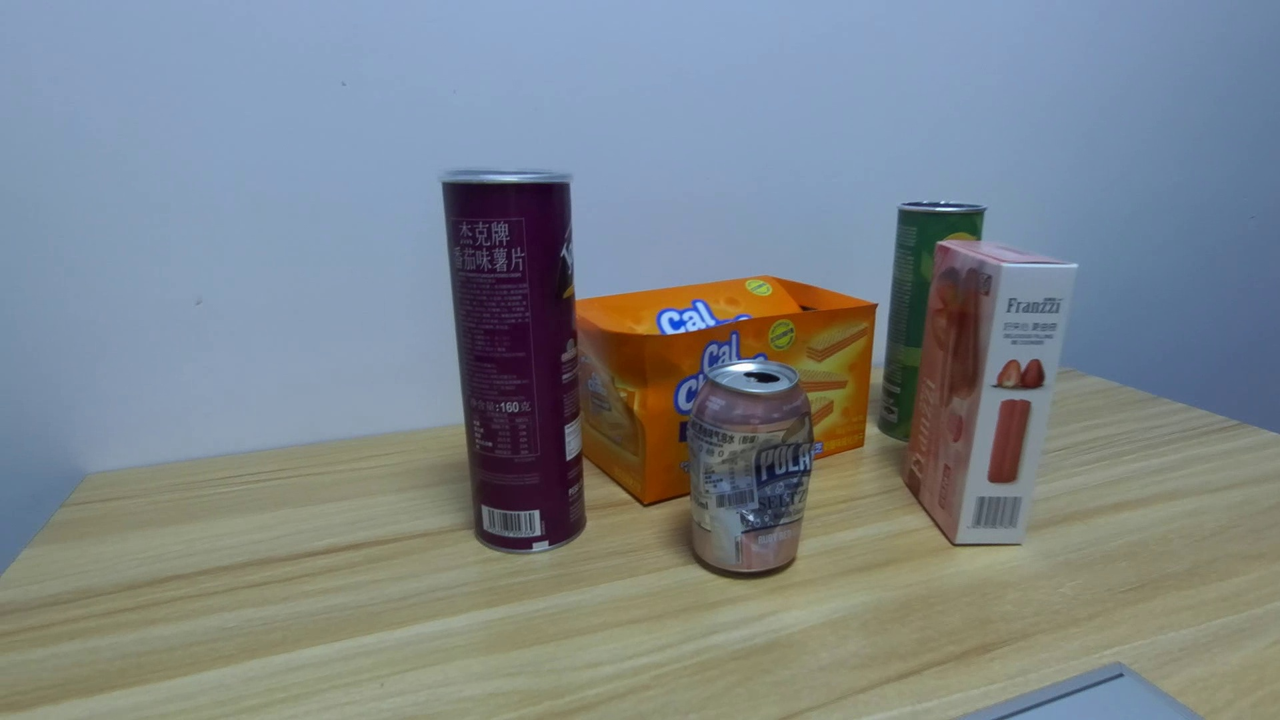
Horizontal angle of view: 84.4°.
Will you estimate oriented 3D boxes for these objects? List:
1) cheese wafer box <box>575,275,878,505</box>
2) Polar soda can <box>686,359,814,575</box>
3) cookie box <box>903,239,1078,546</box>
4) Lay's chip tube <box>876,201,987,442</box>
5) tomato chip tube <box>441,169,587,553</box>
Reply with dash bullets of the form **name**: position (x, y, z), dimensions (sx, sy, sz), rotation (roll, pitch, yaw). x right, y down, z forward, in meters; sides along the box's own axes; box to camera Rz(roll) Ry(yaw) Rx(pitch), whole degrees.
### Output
- **cheese wafer box**: position (0.062, 0.015, 0.592), dimensions (0.231, 0.132, 0.151), rotation (-9, 20, -28)
- **Polar soda can**: position (0.068, 0.066, 0.433), dimensions (0.074, 0.122, 0.067), rotation (3, 18, 13)
- **cookie box**: position (0.227, 0.019, 0.474), dimensions (0.048, 0.184, 0.096), rotation (1, 17, -1)
- **Lay's chip tube**: position (0.252, -0.033, 0.614), dimensions (0.071, 0.202, 0.071), rotation (-1, 17, 0)
- **tomato chip tube**: position (-0.078, 0.002, 0.456), dimensions (0.078, 0.234, 0.078), rotation (0, 17, 0)
